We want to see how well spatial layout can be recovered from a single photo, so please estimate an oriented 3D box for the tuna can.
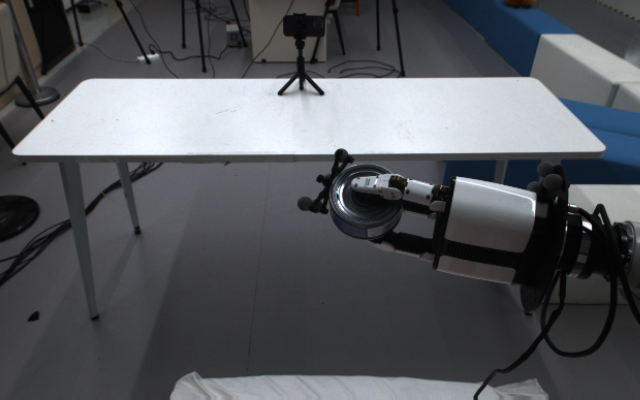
[{"bbox_3d":[0.054,-0.003,0.562,0.085,0.034,0.085,-1,61,1],"label":"tuna can"}]
